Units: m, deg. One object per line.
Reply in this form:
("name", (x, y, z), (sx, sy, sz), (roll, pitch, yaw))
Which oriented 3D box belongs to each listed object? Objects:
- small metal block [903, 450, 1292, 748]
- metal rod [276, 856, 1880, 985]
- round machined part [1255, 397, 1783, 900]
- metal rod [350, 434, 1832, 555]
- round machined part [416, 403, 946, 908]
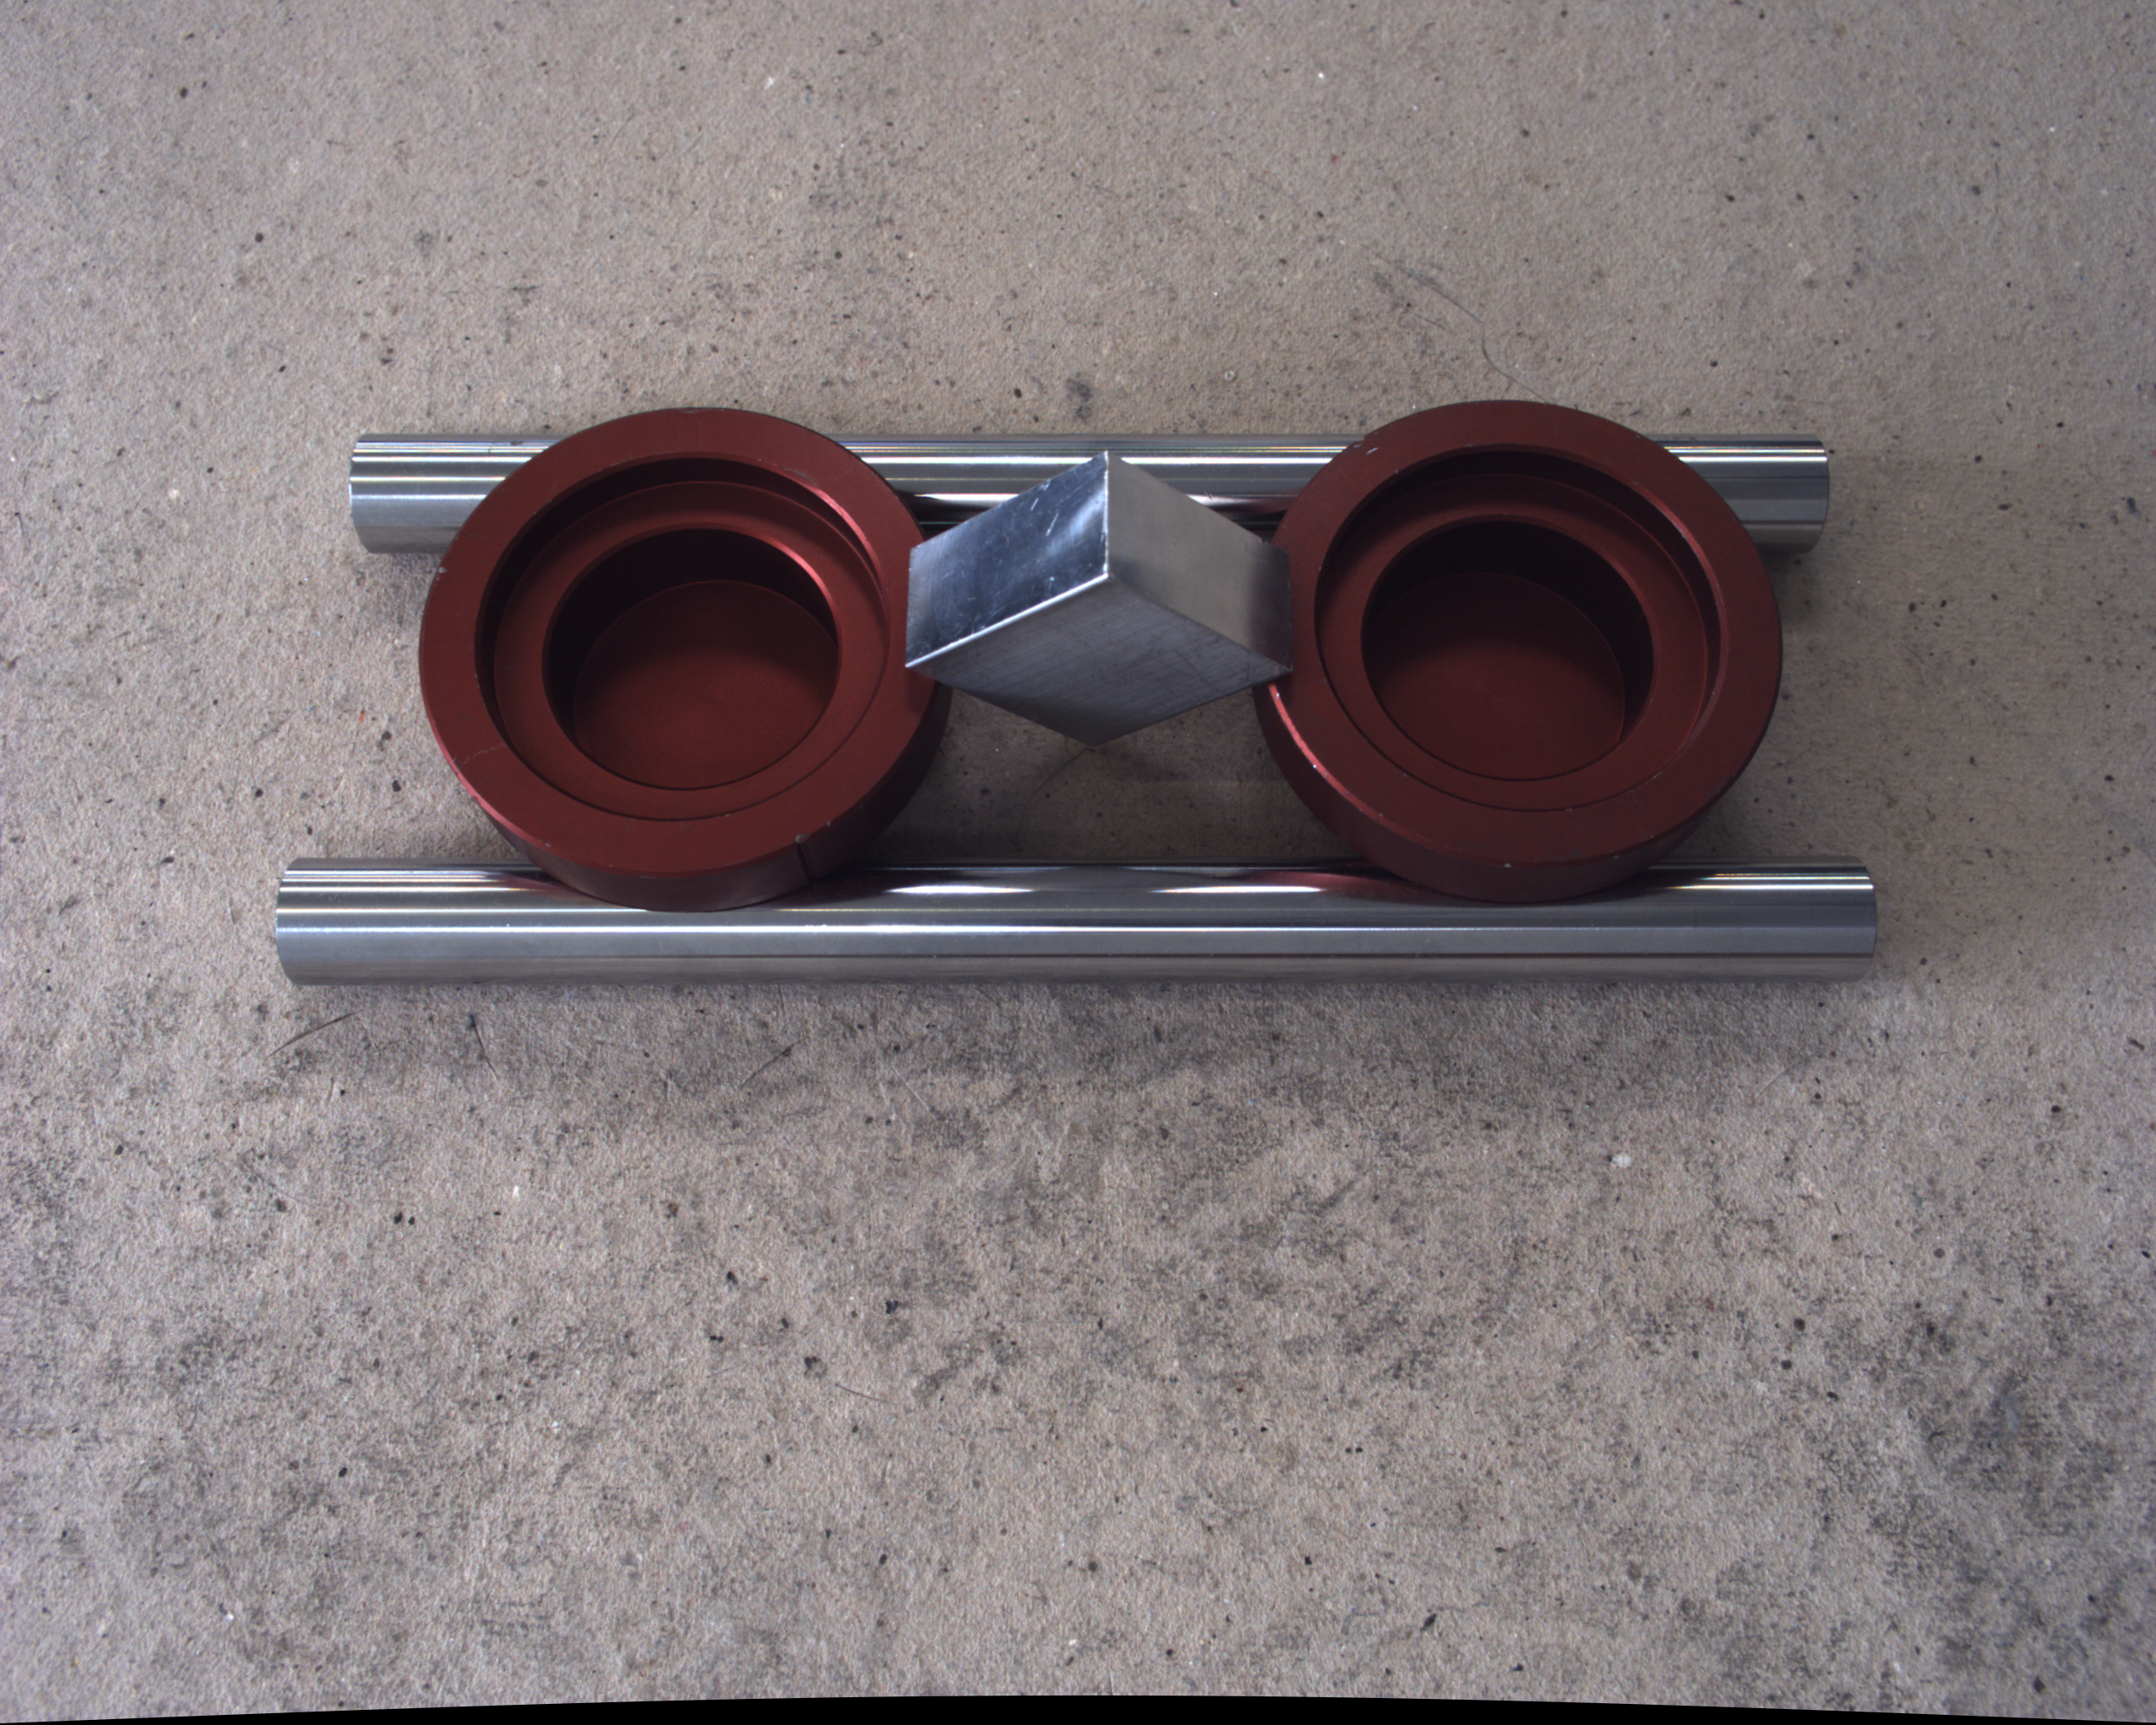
("small metal block", (0.004, -0.047, 0.385), (0.050, 0.050, 0.025), (-18, 63, 40))
("metal rod", (0.000, 0.011, 0.405), (0.302, 0.025, 0.025), (0, 70, 0))
("round machined part", (0.083, -0.039, 0.409), (0.099, 0.042, 0.098), (0, 70, 0))
("metal rod", (0.003, -0.077, 0.437), (0.302, 0.025, 0.025), (0, 70, 0))
("round machined part", (-0.074, -0.037, 0.409), (0.099, 0.042, 0.098), (0, 70, 0))
